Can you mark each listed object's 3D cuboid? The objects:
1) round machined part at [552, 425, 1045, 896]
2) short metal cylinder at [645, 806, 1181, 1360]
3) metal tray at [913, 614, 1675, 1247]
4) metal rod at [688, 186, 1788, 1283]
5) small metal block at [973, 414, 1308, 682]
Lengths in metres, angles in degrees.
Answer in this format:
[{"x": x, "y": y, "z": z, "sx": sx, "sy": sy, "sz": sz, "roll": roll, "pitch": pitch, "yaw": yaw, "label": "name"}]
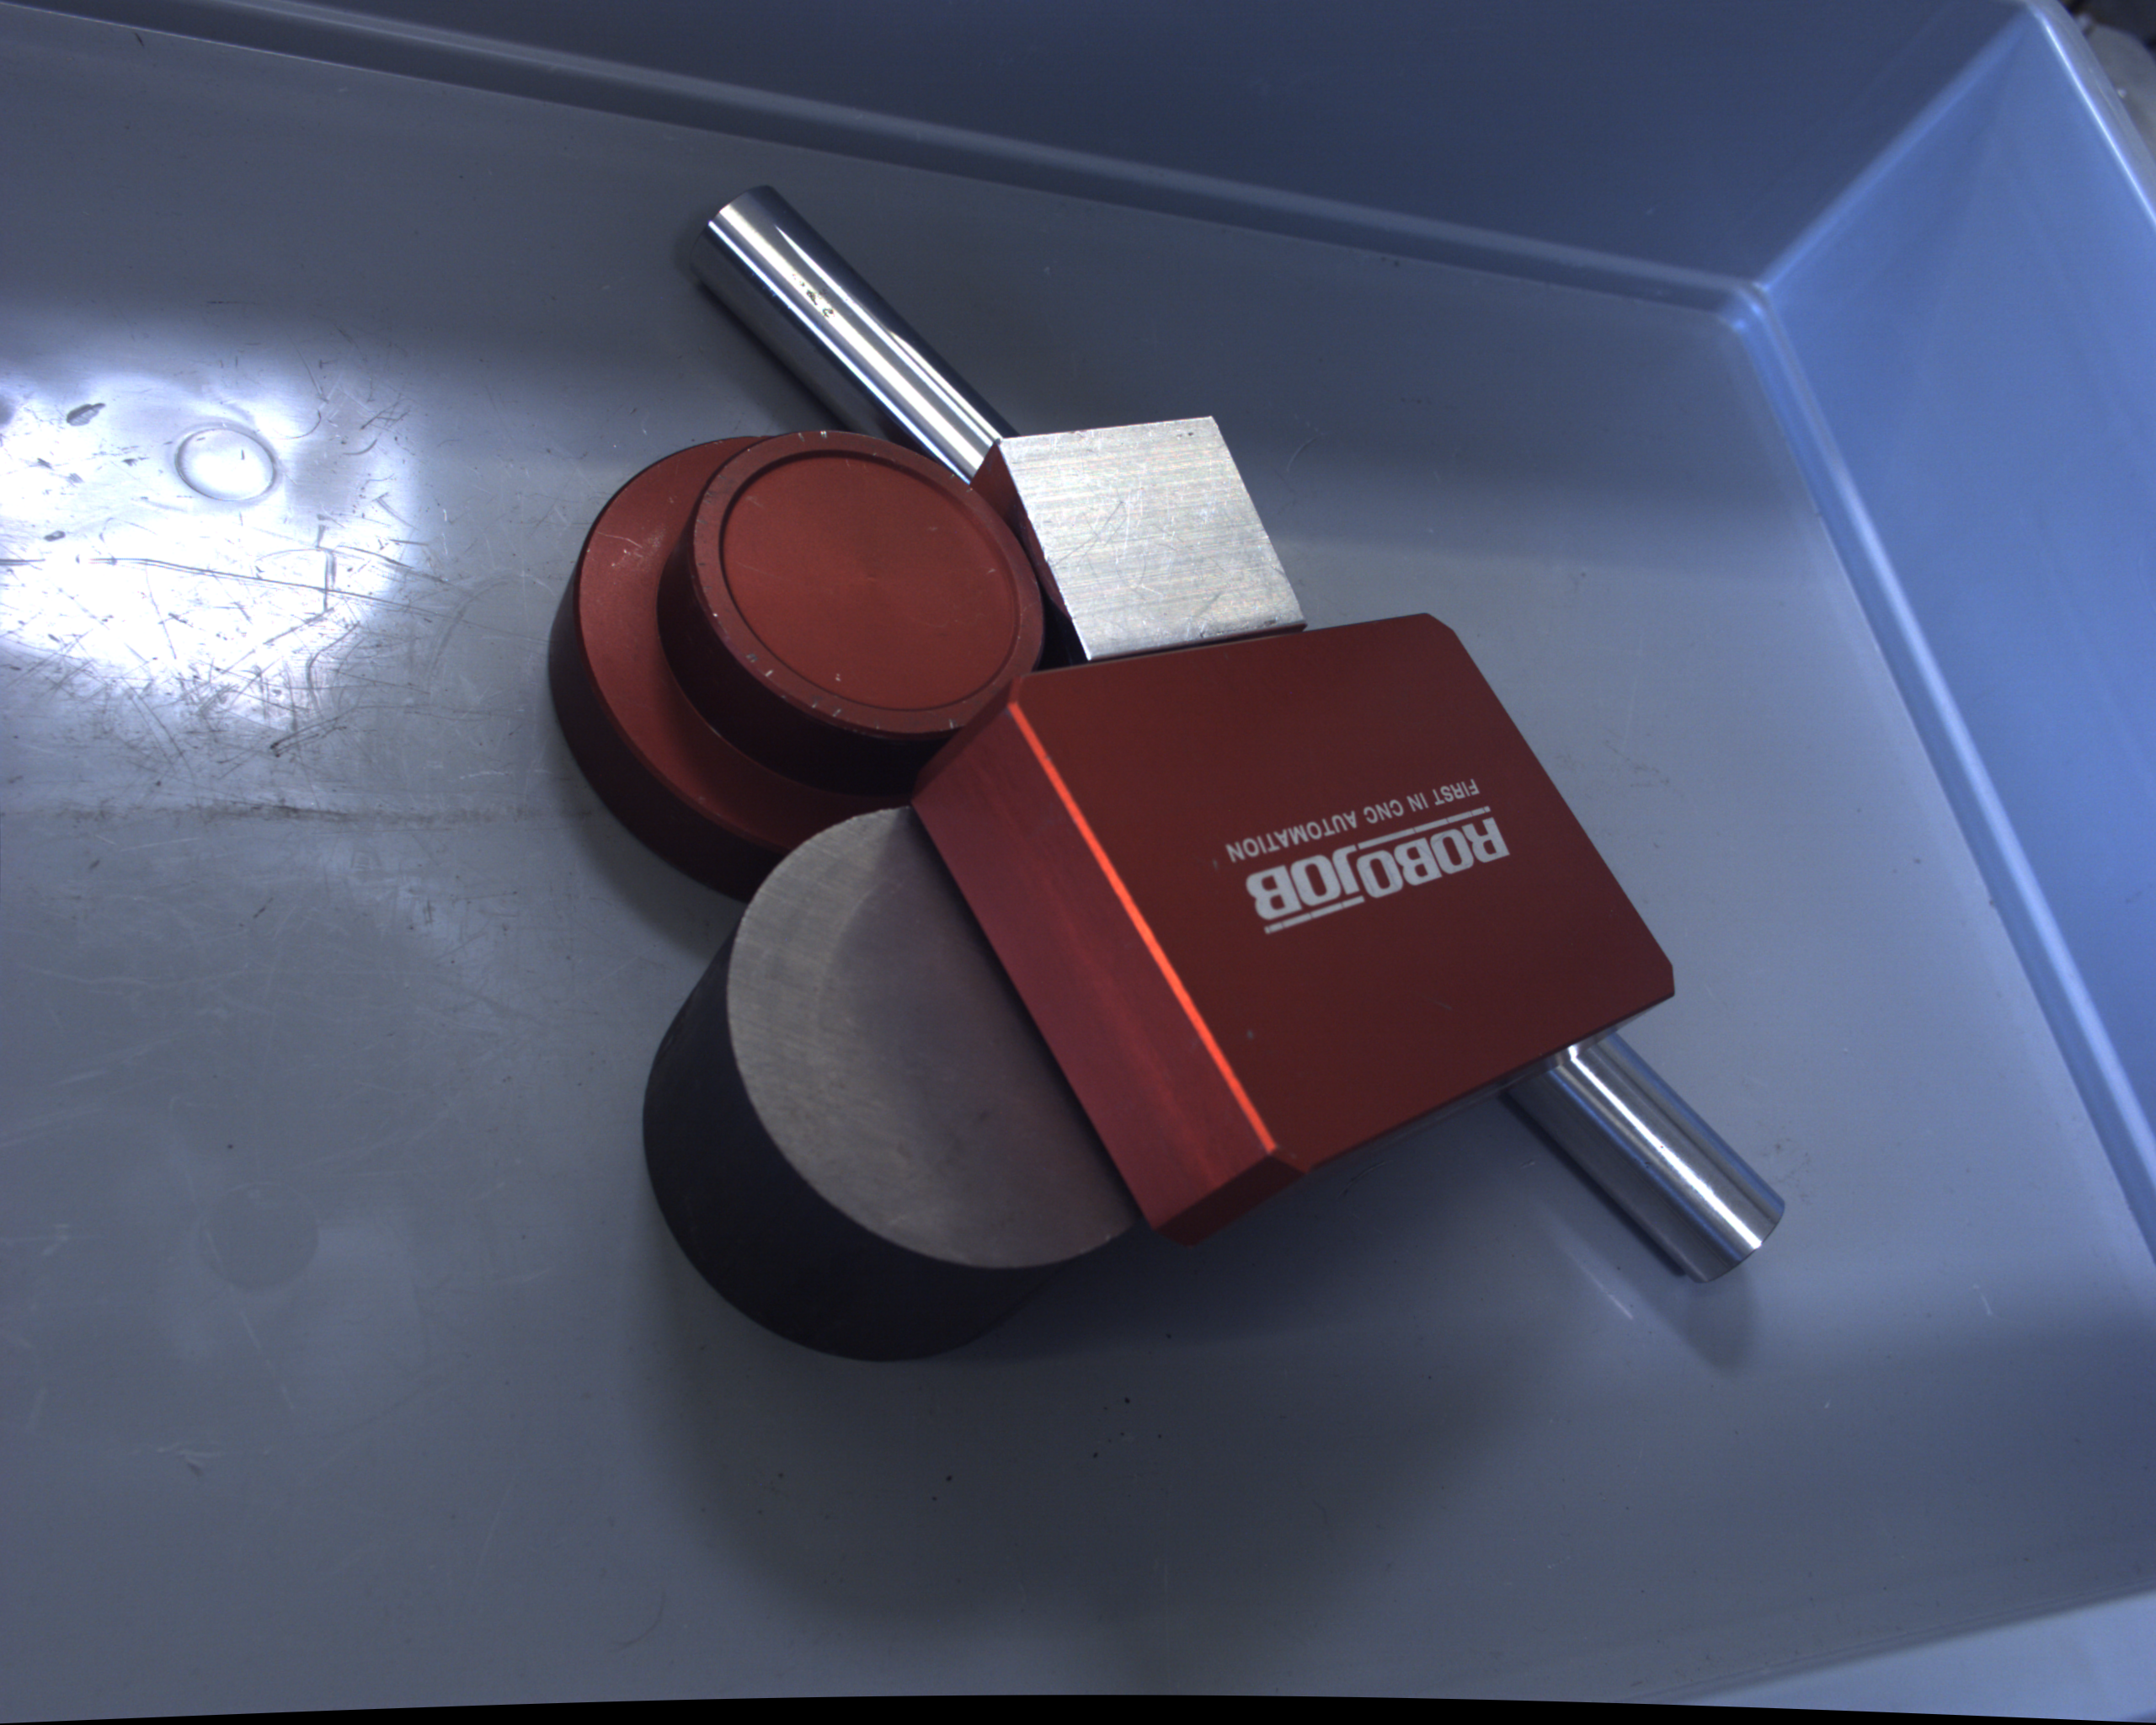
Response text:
[{"x": -0.046, "y": -0.043, "z": 0.393, "sx": 0.099, "sy": 0.042, "sz": 0.098, "roll": 13, "pitch": 57, "yaw": -20, "label": "round machined part"}, {"x": -0.026, "y": 0.037, "z": 0.350, "sx": 0.081, "sy": 0.050, "sz": 0.080, "roll": 14, "pitch": 56, "yaw": -21, "label": "short metal cylinder"}, {"x": 0.044, "y": 0.005, "z": 0.371, "sx": 0.131, "sy": 0.030, "sz": 0.090, "roll": -14, "pitch": 69, "yaw": -47, "label": "metal tray"}, {"x": 0.031, "y": -0.029, "z": 0.438, "sx": 0.300, "sy": 0.025, "sz": 0.025, "roll": 45, "pitch": 51, "yaw": 3, "label": "metal rod"}, {"x": 0.010, "y": -0.059, "z": 0.415, "sx": 0.050, "sy": 0.025, "sz": 0.050, "roll": -13, "pitch": 71, "yaw": -28, "label": "small metal block"}]
